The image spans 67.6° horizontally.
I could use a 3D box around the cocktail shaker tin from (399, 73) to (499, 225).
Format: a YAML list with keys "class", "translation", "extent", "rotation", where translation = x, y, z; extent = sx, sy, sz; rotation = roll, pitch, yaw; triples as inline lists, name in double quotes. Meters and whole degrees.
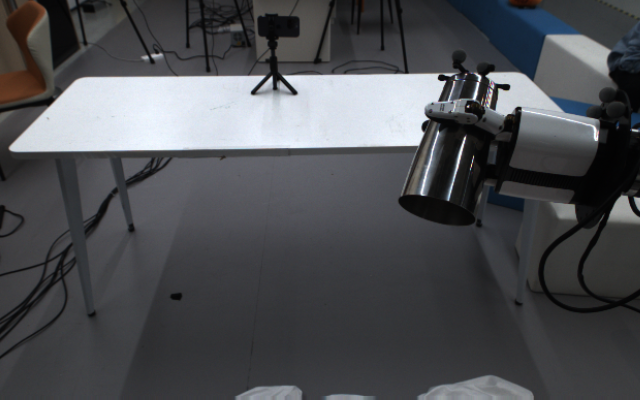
- class: "cocktail shaker tin"
  translation: [0.164, -0.064, 0.586]
  extent: [0.093, 0.093, 0.170]
  rotation: [15, 75, 18]
